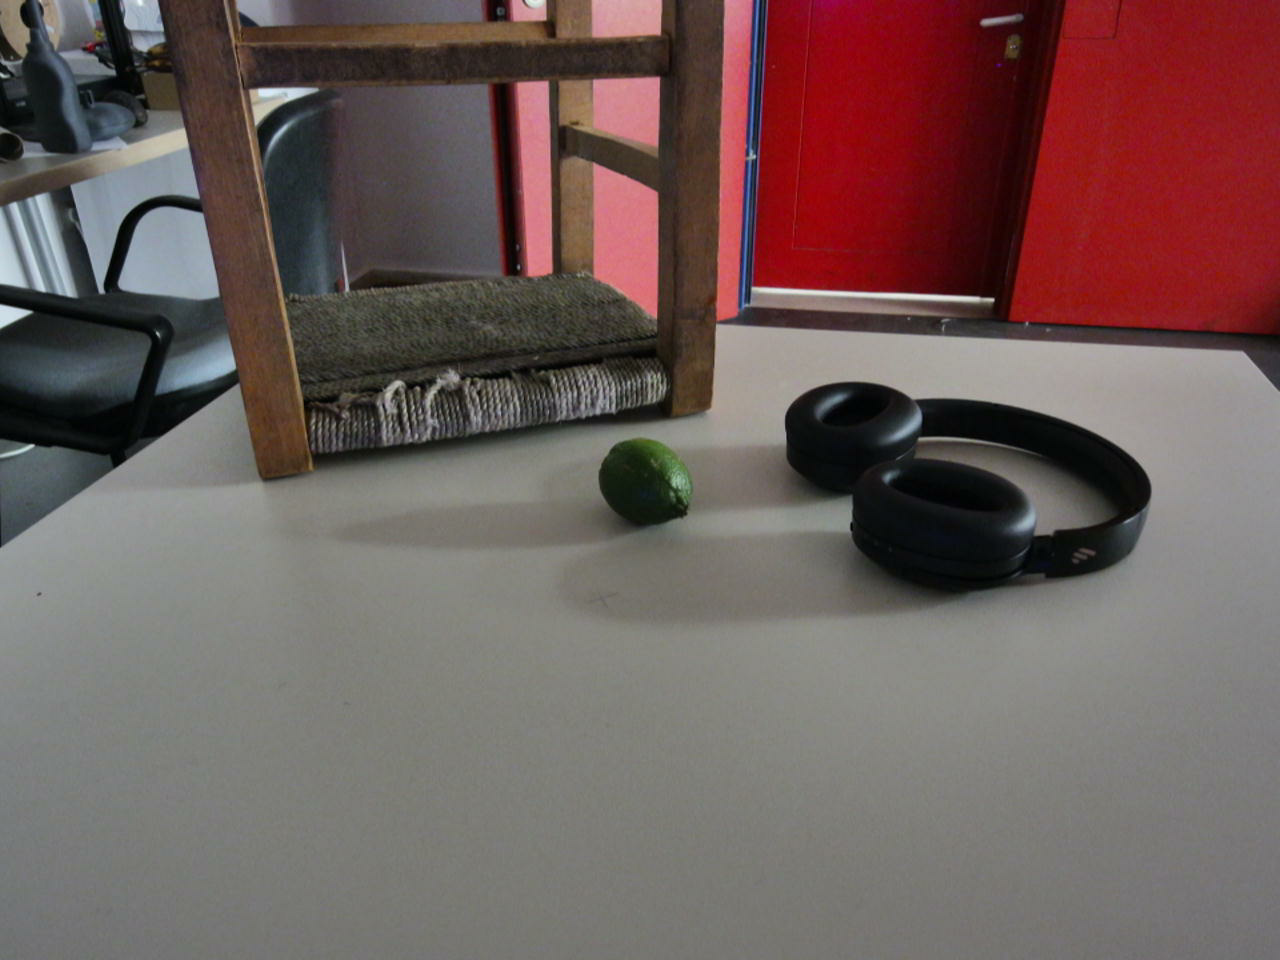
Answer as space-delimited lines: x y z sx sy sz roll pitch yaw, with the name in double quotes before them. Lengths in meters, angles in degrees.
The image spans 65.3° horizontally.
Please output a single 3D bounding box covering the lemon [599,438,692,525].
"lemon" 0.004 0.000 0.612 0.057 0.051 0.054 2 27 7
